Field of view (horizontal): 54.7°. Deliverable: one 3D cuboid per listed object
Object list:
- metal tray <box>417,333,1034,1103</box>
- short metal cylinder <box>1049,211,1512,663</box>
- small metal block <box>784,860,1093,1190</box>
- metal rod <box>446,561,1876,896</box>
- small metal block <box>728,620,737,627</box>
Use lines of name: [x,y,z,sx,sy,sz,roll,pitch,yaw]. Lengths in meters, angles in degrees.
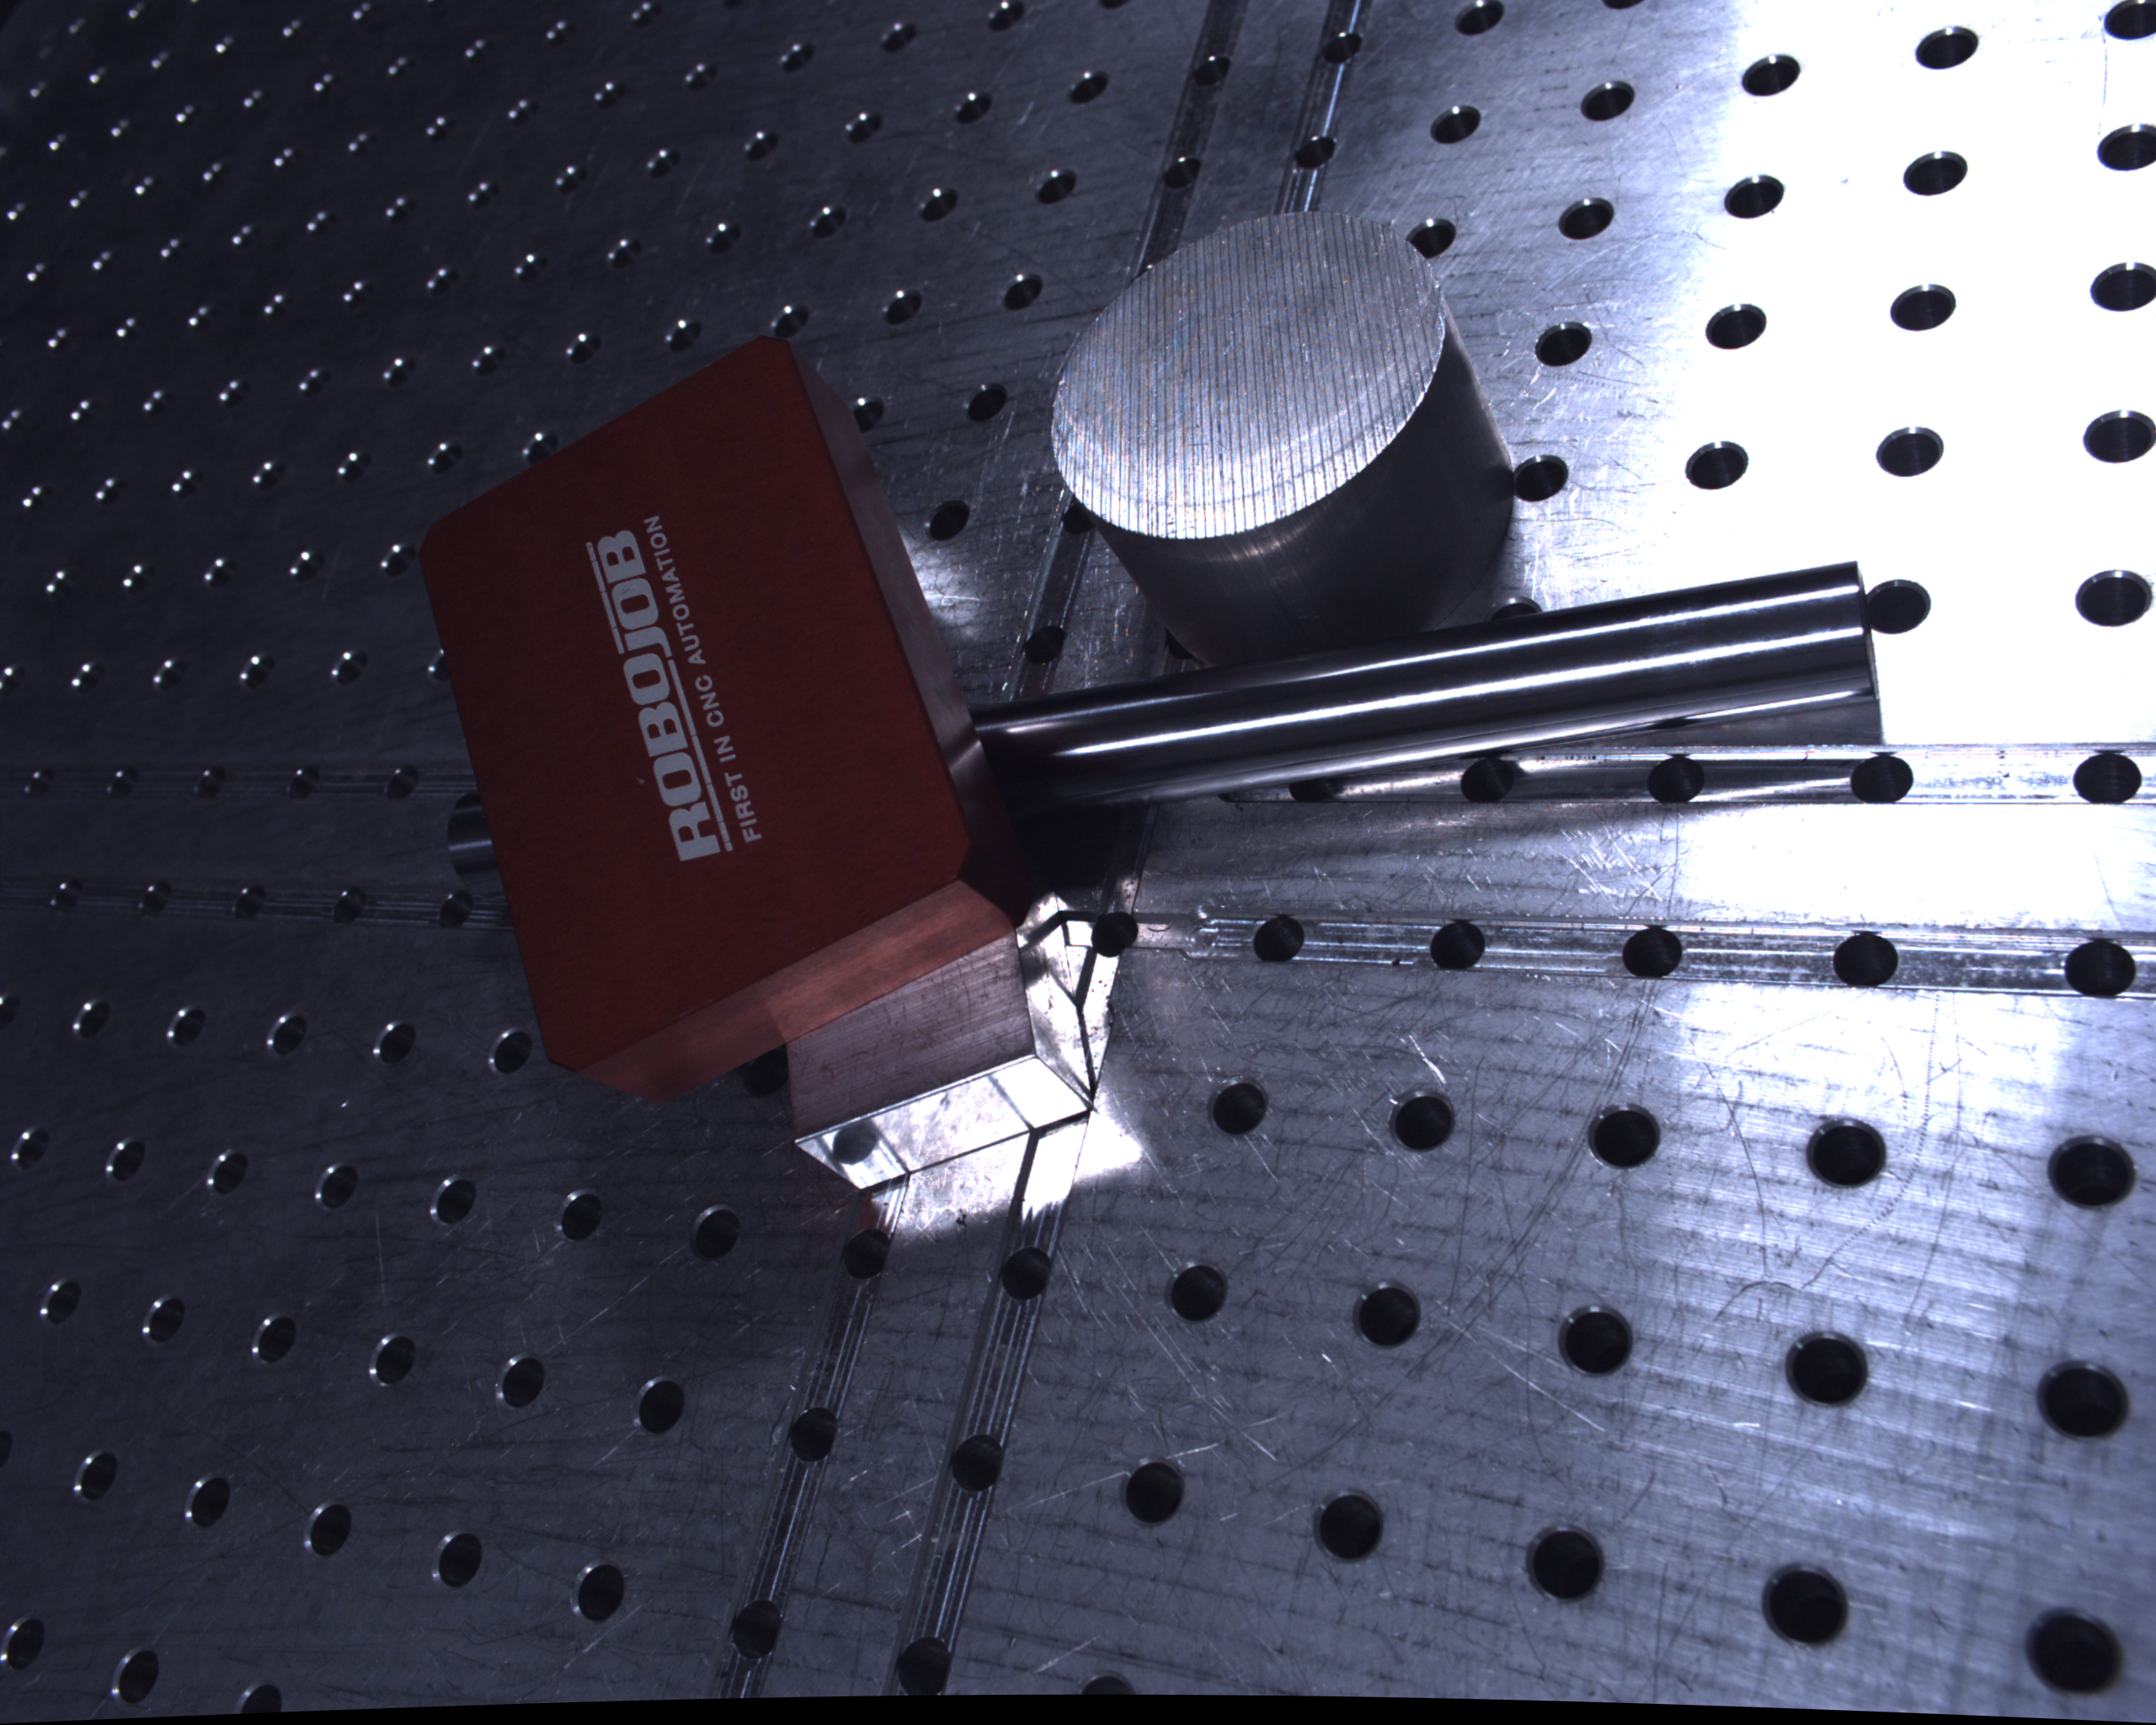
metal tray: [-0.073,-0.030,0.410,0.090,0.030,0.130,-27,64,11]
short metal cylinder: [0.041,-0.083,0.420,0.080,0.050,0.080,-13,56,20]
small metal block: [-0.029,0.029,0.403,0.050,0.025,0.050,-21,54,15]
metal rod: [0.000,-0.022,0.421,0.301,0.025,0.025,-7,59,23]
small metal block: [-0.080,-0.074,0.477,0.050,0.050,0.025,-28,53,10]
